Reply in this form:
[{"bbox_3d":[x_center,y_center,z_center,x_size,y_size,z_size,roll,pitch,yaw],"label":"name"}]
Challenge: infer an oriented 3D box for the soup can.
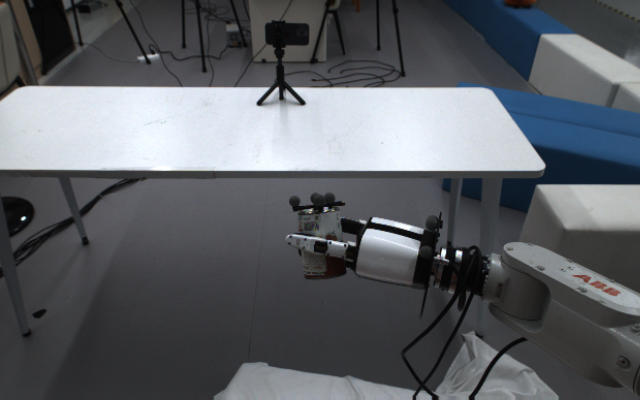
[{"bbox_3d":[0.004,0.065,0.739,0.067,0.101,0.067,-7,3,0],"label":"soup can"}]
